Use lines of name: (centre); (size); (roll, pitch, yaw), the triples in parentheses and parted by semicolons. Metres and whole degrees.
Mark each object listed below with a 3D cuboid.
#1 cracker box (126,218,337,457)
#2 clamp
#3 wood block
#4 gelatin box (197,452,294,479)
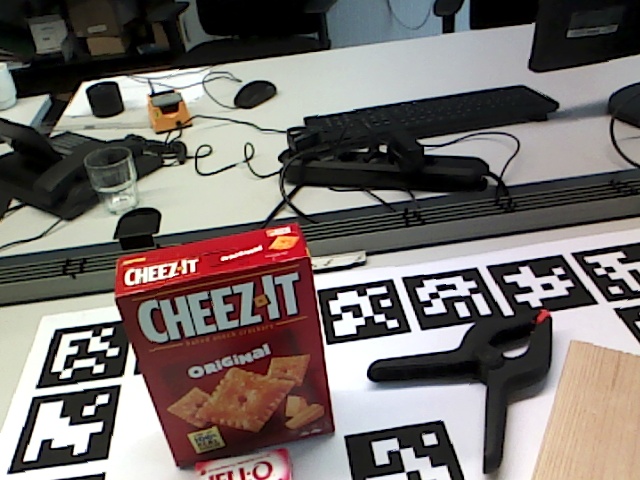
cracker box: (-0.073, 0.097, 0.579); (0.164, 0.213, 0.072); (-10, 35, -6)
clamp: (0.173, 0.133, 0.642); (0.202, 0.036, 0.166); (-29, 41, -26)
wood block: (0.226, 0.195, 0.507); (0.090, 0.090, 0.206); (11, 37, 28)
gelatin box: (-0.065, 0.236, 0.555); (0.089, 0.030, 0.073); (-10, 37, -2)
